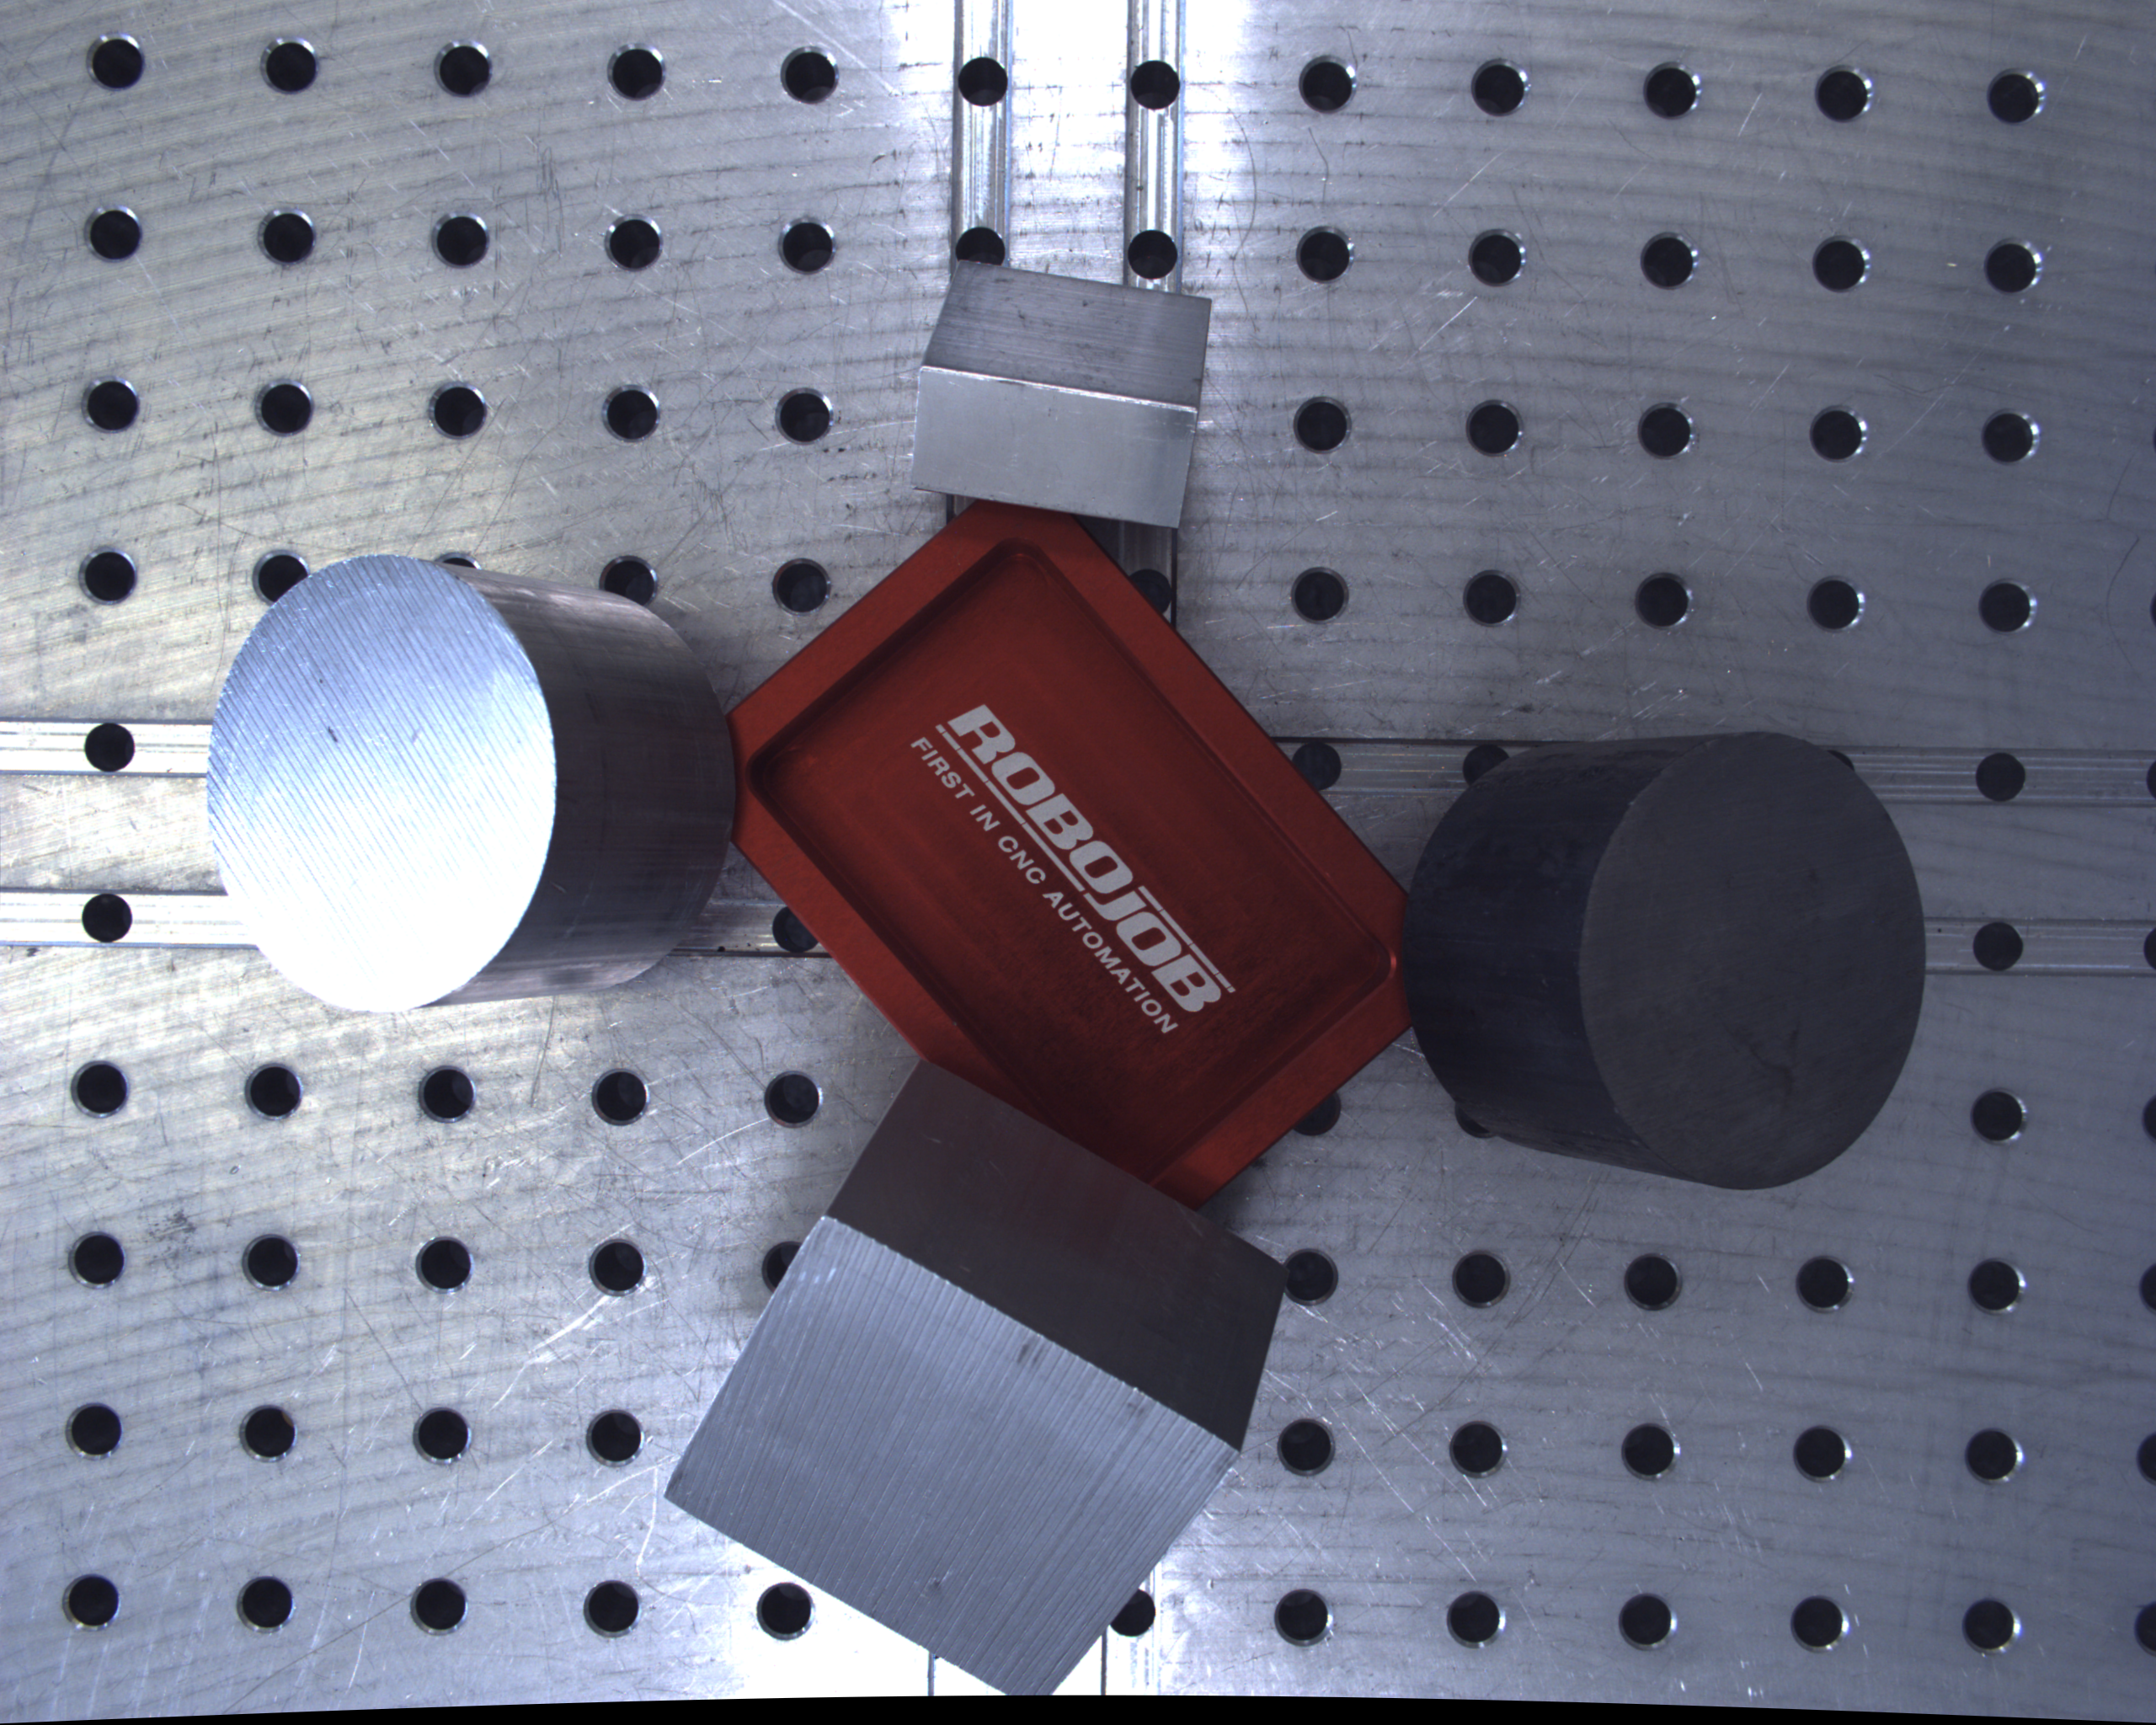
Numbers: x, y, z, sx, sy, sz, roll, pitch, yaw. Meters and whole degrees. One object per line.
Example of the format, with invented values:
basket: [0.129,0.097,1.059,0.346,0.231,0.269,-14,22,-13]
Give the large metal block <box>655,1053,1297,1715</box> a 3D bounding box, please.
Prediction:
large metal block: [-0.019,0.096,0.383,0.080,0.050,0.079,31,121,-1]

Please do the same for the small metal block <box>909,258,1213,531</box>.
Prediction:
small metal block: [-0.002,-0.090,0.398,0.050,0.050,0.025,9,128,0]

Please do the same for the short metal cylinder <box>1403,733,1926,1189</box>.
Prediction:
short metal cylinder: [0.108,0.017,0.386,0.081,0.050,0.079,0,91,-27]

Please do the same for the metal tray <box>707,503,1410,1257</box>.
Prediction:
metal tray: [-0.001,0.001,0.410,0.090,0.030,0.130,-41,90,0]

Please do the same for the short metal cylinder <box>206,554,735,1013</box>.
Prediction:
short metal cylinder: [-0.111,-0.014,0.385,0.080,0.050,0.079,0,91,25]
